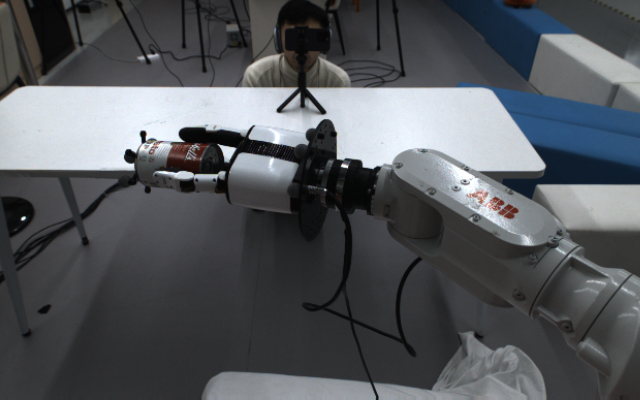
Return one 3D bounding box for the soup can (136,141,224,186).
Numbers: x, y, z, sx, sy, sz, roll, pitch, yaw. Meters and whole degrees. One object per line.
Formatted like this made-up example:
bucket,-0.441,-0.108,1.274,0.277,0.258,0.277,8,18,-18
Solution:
soup can,-0.191,-0.046,0.669,0.101,0.067,0.067,5,34,14
